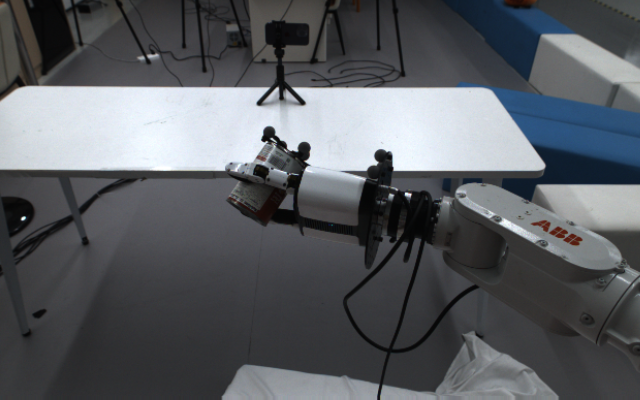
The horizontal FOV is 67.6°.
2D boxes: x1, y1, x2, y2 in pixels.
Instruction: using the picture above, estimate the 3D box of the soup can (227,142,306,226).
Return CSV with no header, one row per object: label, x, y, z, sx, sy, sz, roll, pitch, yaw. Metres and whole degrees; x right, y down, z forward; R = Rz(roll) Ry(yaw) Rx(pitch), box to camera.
soup can,-0.076,-0.021,0.686,0.067,0.067,0.101,27,78,31
